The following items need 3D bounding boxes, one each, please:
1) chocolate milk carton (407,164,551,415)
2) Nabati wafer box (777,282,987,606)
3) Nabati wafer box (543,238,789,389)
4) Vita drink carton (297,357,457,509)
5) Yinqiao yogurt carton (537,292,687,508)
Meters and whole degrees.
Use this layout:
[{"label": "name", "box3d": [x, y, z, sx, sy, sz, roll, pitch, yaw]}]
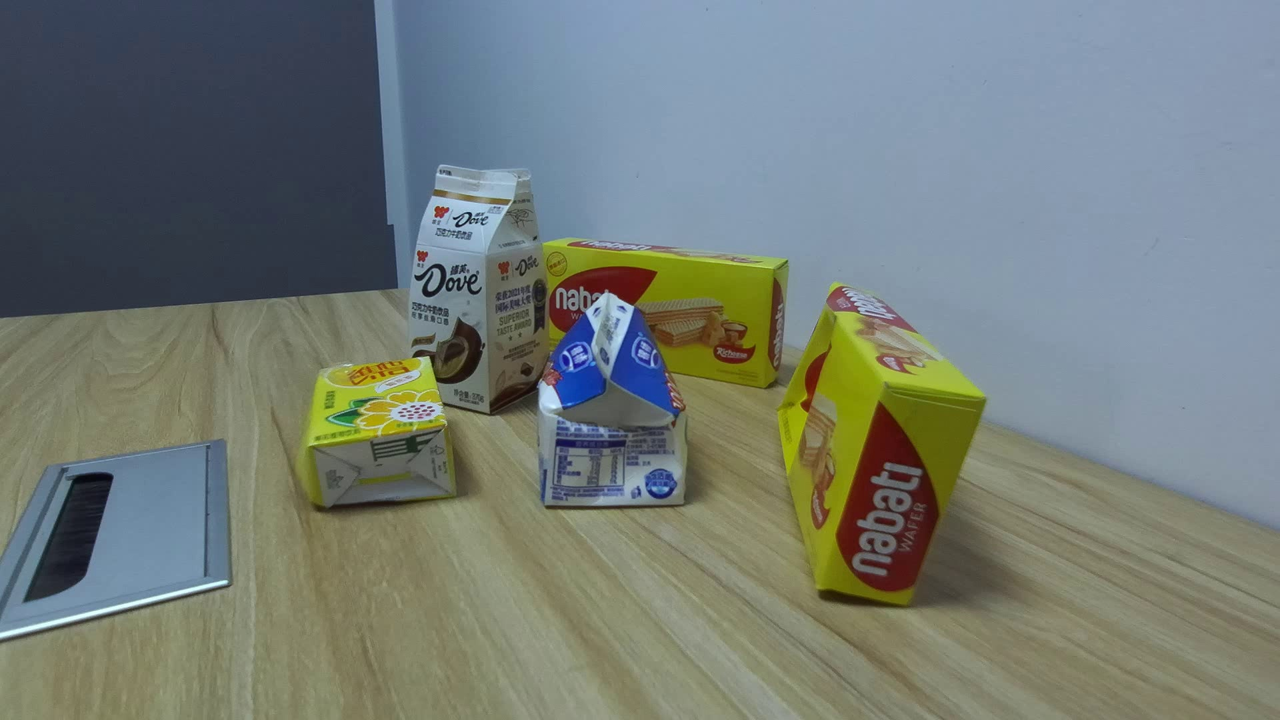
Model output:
[{"label": "chocolate milk carton", "box3d": [-0.112, -0.052, 0.484, 0.084, 0.155, 0.073, 10, 20, 25]}, {"label": "Nabati wafer box", "box3d": [0.117, 0.024, 0.385, 0.042, 0.096, 0.203, 11, 21, 2]}, {"label": "Nabati wafer box", "box3d": [0.016, -0.040, 0.567, 0.202, 0.093, 0.042, 10, 16, 24]}, {"label": "Vita drink carton", "box3d": [-0.145, 0.037, 0.385, 0.076, 0.043, 0.108, -8, 22, -18]}, {"label": "Yinqiao yogurt carton", "box3d": [-0.015, 0.017, 0.373, 0.077, 0.093, 0.083, 0, 18, -5]}]
